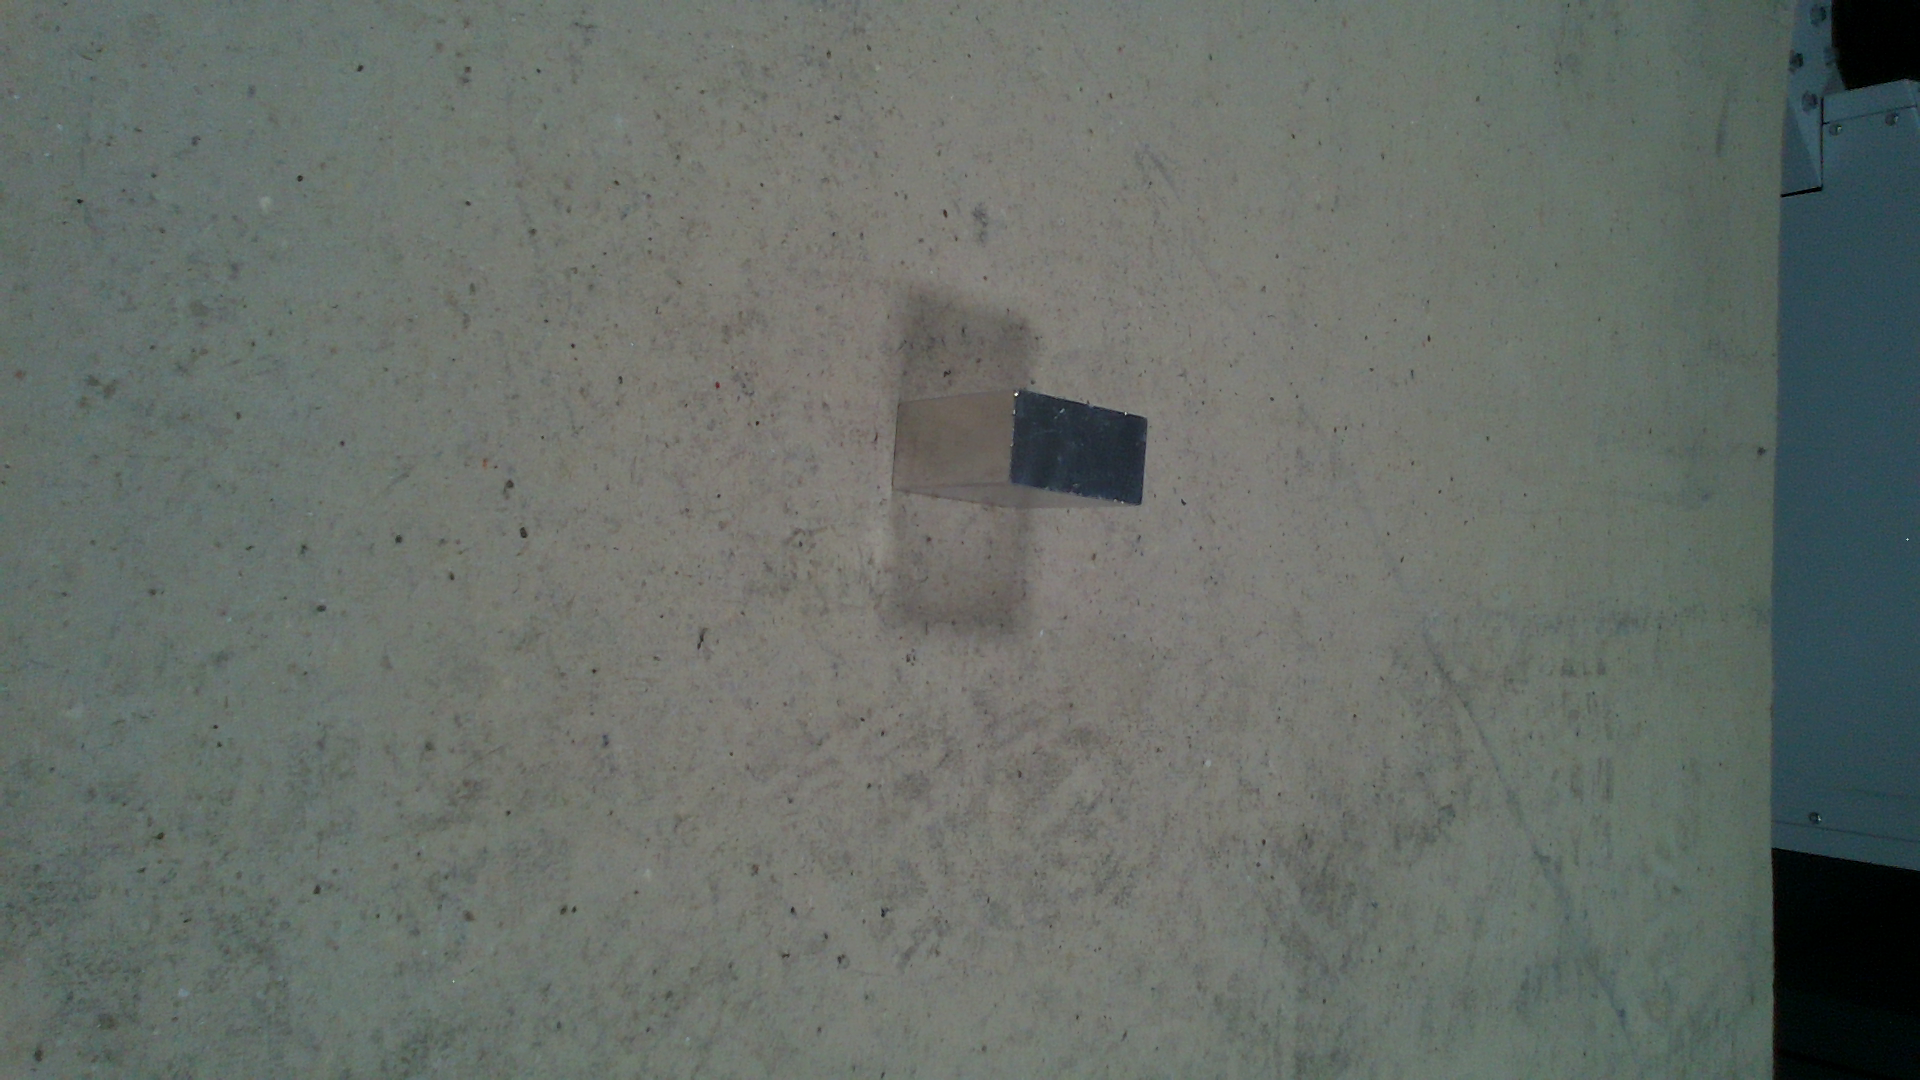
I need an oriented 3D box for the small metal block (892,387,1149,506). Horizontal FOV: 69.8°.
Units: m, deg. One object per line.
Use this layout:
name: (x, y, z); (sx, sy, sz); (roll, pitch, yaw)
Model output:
small metal block: (0.017, -0.025, 0.386); (0.050, 0.050, 0.025); (7, 86, -40)
